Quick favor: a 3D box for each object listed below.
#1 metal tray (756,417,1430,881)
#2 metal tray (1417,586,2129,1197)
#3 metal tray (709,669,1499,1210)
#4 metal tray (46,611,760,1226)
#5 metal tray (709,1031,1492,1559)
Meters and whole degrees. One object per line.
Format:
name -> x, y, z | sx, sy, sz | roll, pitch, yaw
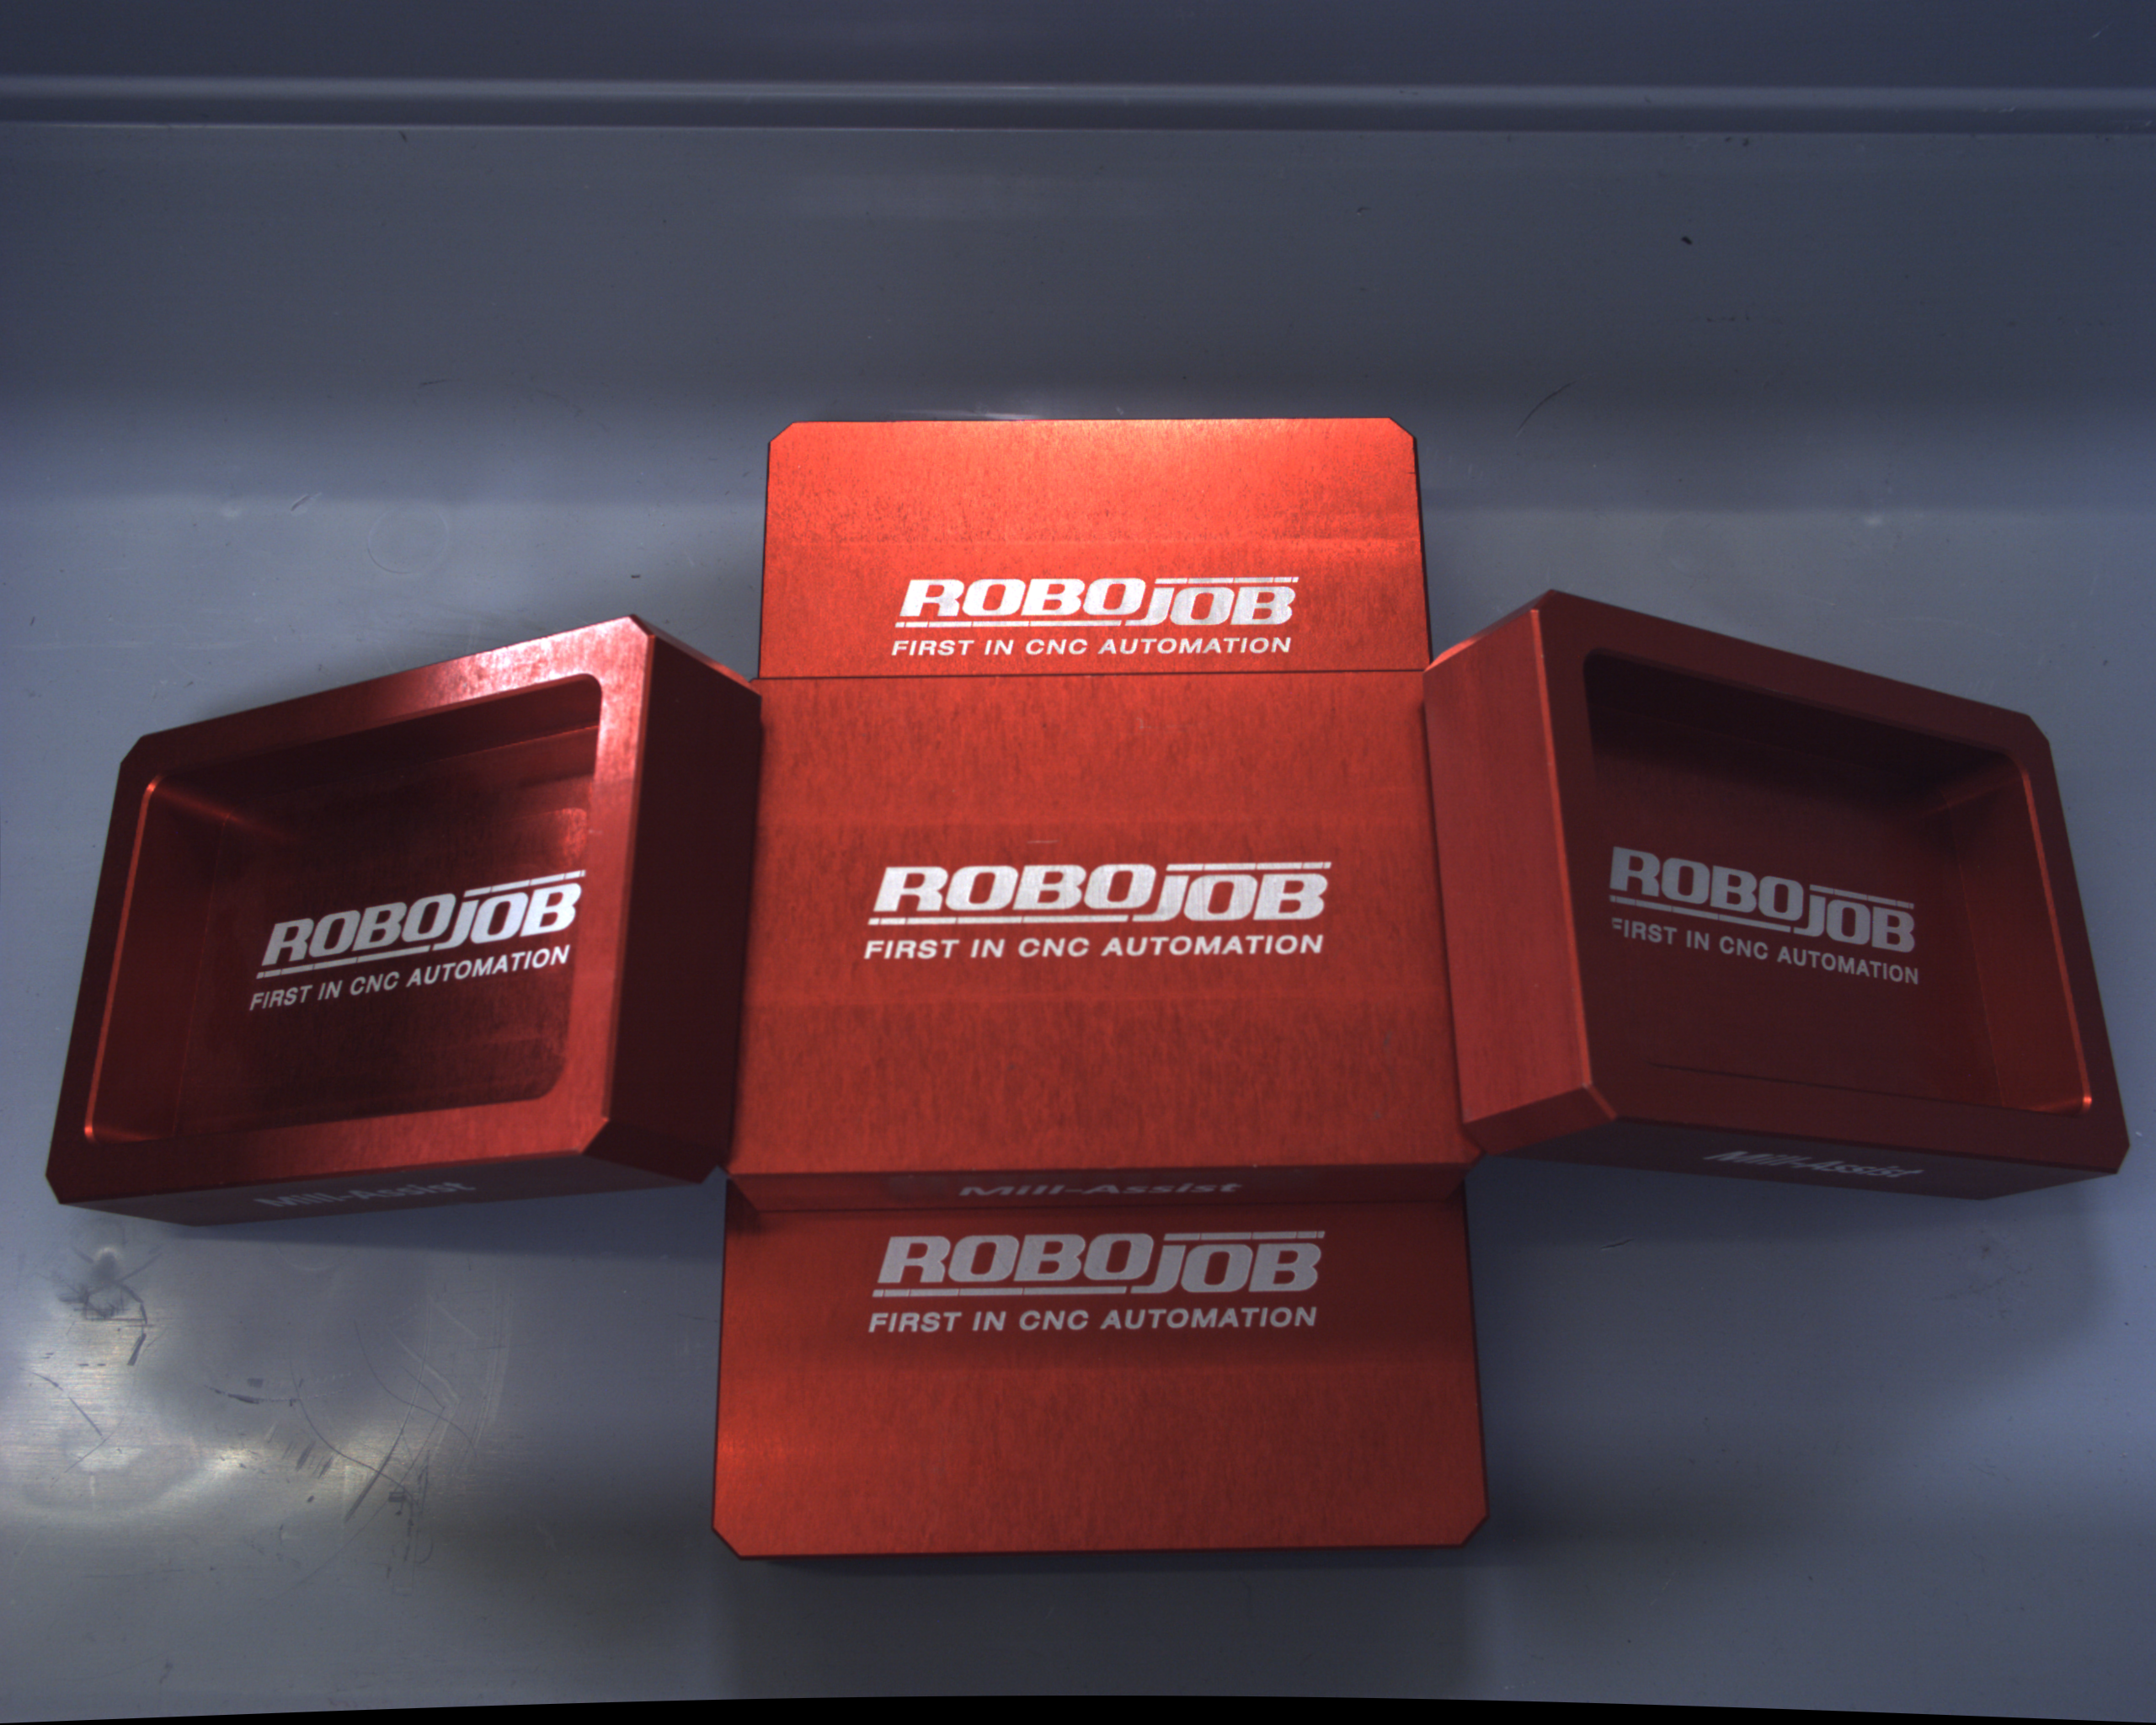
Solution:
metal tray -> 0.003, -0.043, 0.420 | 0.131, 0.030, 0.090 | 0, 70, -1
metal tray -> 0.124, 0.009, 0.369 | 0.131, 0.030, 0.090 | 9, 68, -28
metal tray -> 0.004, 0.013, 0.368 | 0.131, 0.030, 0.090 | -1, 70, -1
metal tray -> -0.120, 0.014, 0.367 | 0.130, 0.030, 0.090 | -9, 69, 28
metal tray -> 0.004, 0.078, 0.375 | 0.131, 0.030, 0.090 | 0, 70, -1
